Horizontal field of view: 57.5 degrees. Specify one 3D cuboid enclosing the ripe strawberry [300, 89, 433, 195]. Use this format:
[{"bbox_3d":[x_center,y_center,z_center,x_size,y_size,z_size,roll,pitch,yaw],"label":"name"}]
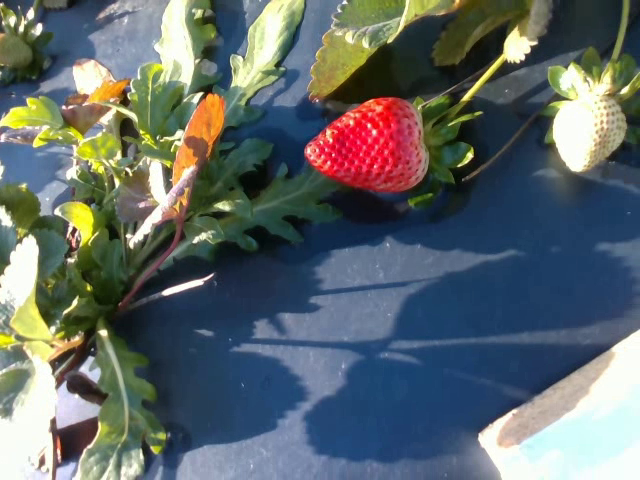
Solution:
[{"bbox_3d":[0.016,-0.035,0.208,0.053,0.044,0.036,-9,13,-9],"label":"ripe strawberry"}]
